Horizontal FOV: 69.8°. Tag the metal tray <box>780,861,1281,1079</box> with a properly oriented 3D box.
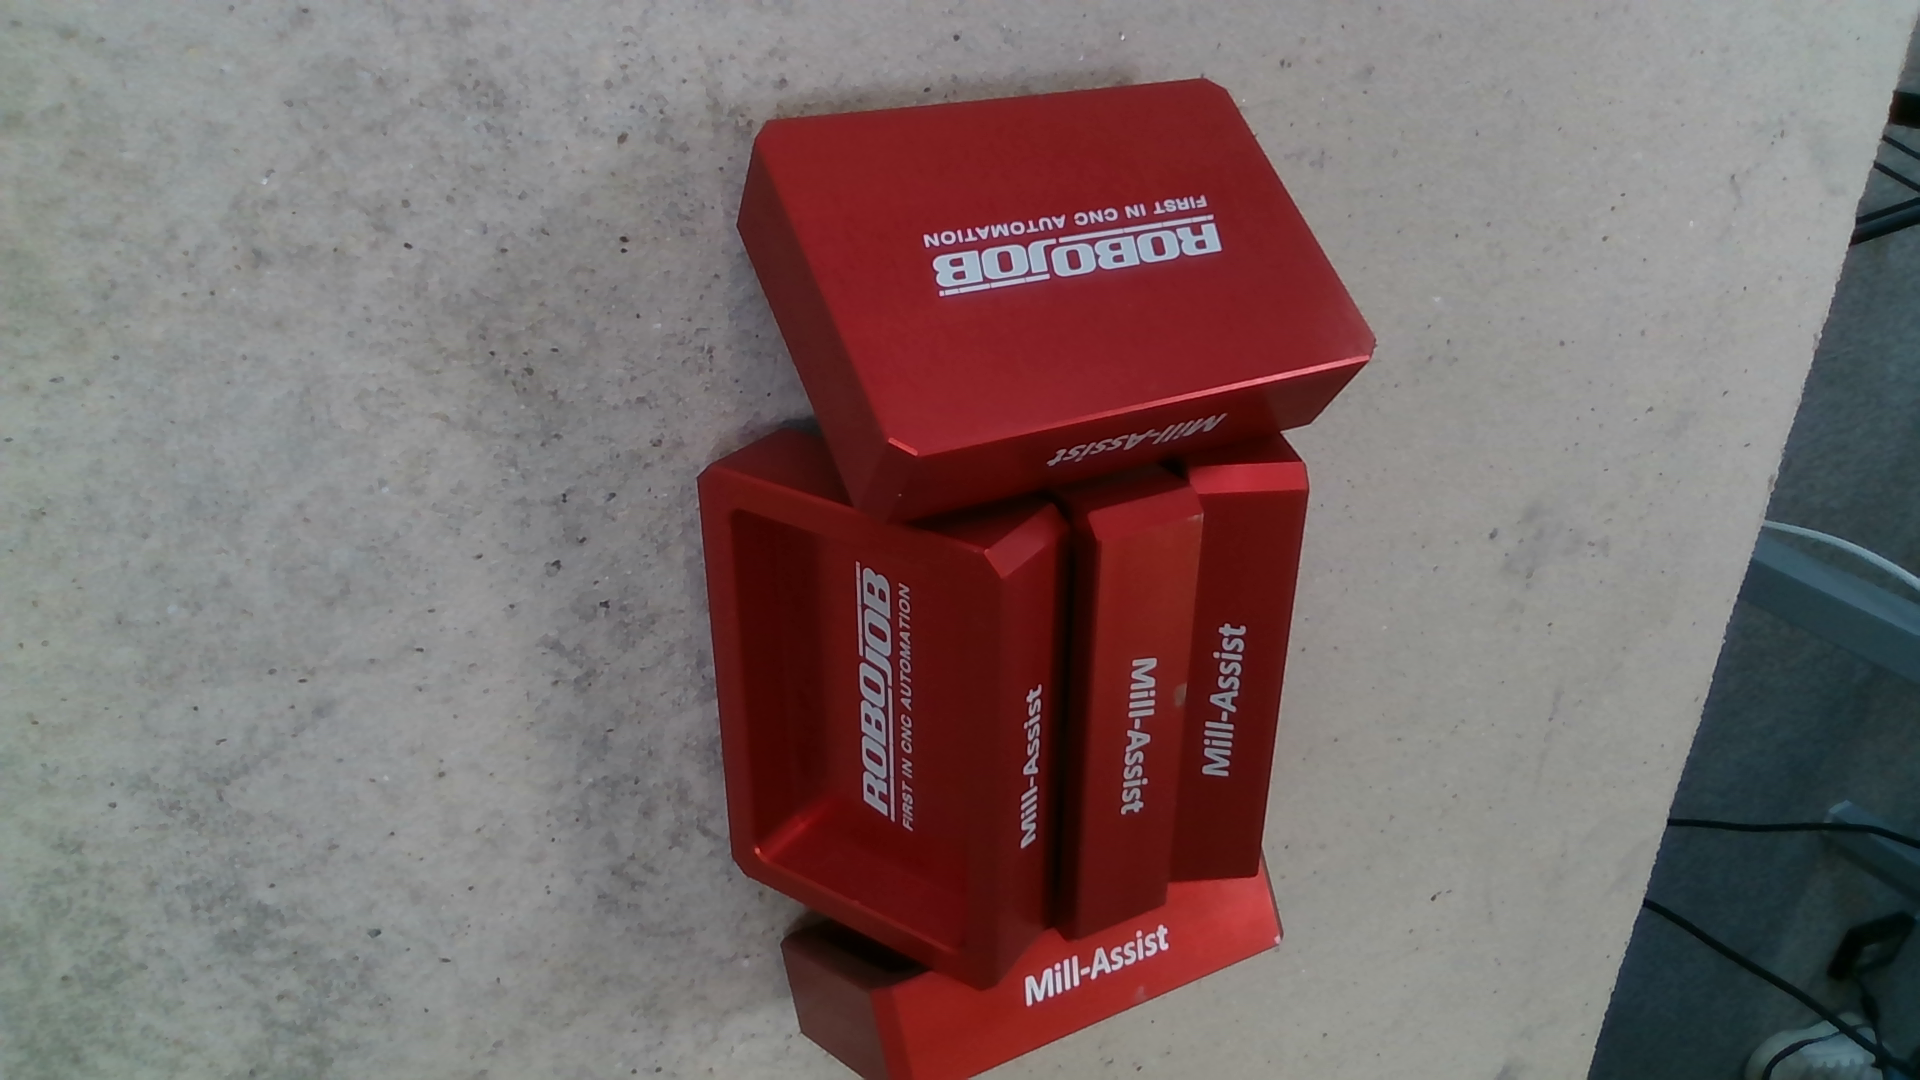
[{"bbox_3d":[0.020,0.122,0.425,0.130,0.090,0.030,-14,89,-25],"label":"metal tray"}]

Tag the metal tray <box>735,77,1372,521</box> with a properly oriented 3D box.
[{"bbox_3d":[0.023,-0.062,0.329,0.130,0.090,0.030,-14,158,-25],"label":"metal tray"}]

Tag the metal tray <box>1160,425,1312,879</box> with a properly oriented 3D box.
[{"bbox_3d":[0.064,0.020,0.395,0.030,0.090,0.130,-3,118,-6],"label":"metal tray"}]

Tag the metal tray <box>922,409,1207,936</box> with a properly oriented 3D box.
[{"bbox_3d":[0.023,0.030,0.378,0.030,0.090,0.130,-14,122,-25],"label":"metal tray"}]

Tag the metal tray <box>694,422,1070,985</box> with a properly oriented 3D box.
[{"bbox_3d":[-0.021,0.043,0.357,0.030,0.090,0.130,-36,135,-48],"label":"metal tray"}]
